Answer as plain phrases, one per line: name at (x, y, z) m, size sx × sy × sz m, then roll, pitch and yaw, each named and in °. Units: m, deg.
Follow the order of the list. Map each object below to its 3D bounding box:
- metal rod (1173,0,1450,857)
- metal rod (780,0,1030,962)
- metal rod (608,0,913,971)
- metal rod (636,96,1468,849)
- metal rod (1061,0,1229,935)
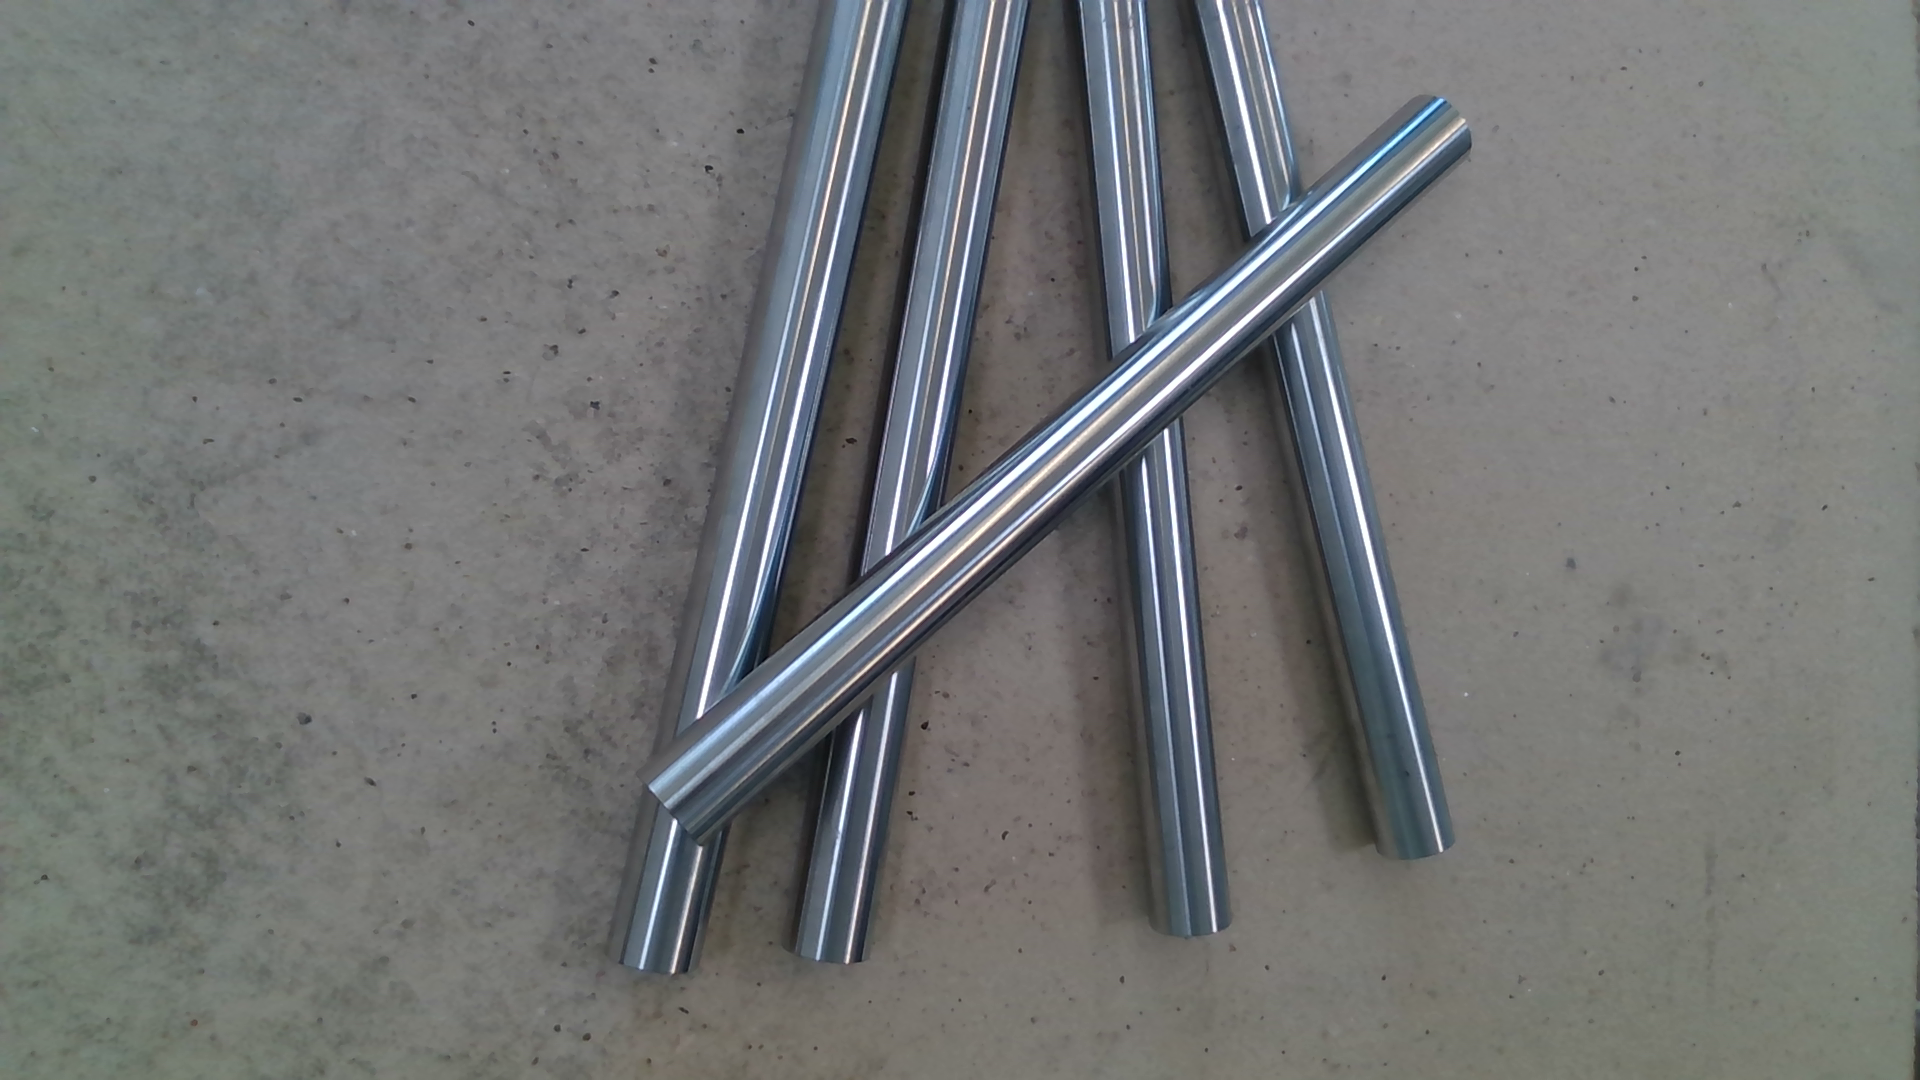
metal rod at (0.110, -0.046, 0.435) m, size 0.025 × 0.025 × 0.300 m, roll -17°, pitch 96°, yaw -19°
metal rod at (-0.012, -0.034, 0.390) m, size 0.025 × 0.025 × 0.300 m, roll 11°, pitch 87°, yaw -20°
metal rod at (-0.050, -0.036, 0.376) m, size 0.025 × 0.025 × 0.300 m, roll 13°, pitch 86°, yaw -20°
metal rod at (0.036, -0.029, 0.380) m, size 0.300 × 0.025 × 0.025 m, roll -42°, pitch 103°, yaw -15°
metal rod at (0.055, -0.032, 0.415) m, size 0.025 × 0.025 × 0.300 m, roll -7°, pitch 93°, yaw -20°
